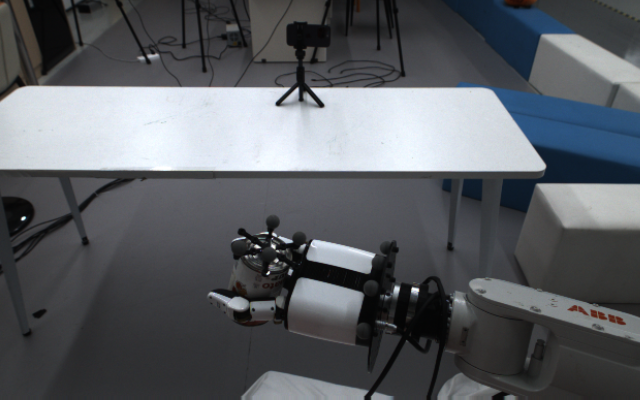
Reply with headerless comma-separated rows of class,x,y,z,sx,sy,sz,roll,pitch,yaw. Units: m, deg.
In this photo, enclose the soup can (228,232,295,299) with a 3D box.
soup can,-0.078,0.101,0.607,0.067,0.101,0.067,14,35,-10
